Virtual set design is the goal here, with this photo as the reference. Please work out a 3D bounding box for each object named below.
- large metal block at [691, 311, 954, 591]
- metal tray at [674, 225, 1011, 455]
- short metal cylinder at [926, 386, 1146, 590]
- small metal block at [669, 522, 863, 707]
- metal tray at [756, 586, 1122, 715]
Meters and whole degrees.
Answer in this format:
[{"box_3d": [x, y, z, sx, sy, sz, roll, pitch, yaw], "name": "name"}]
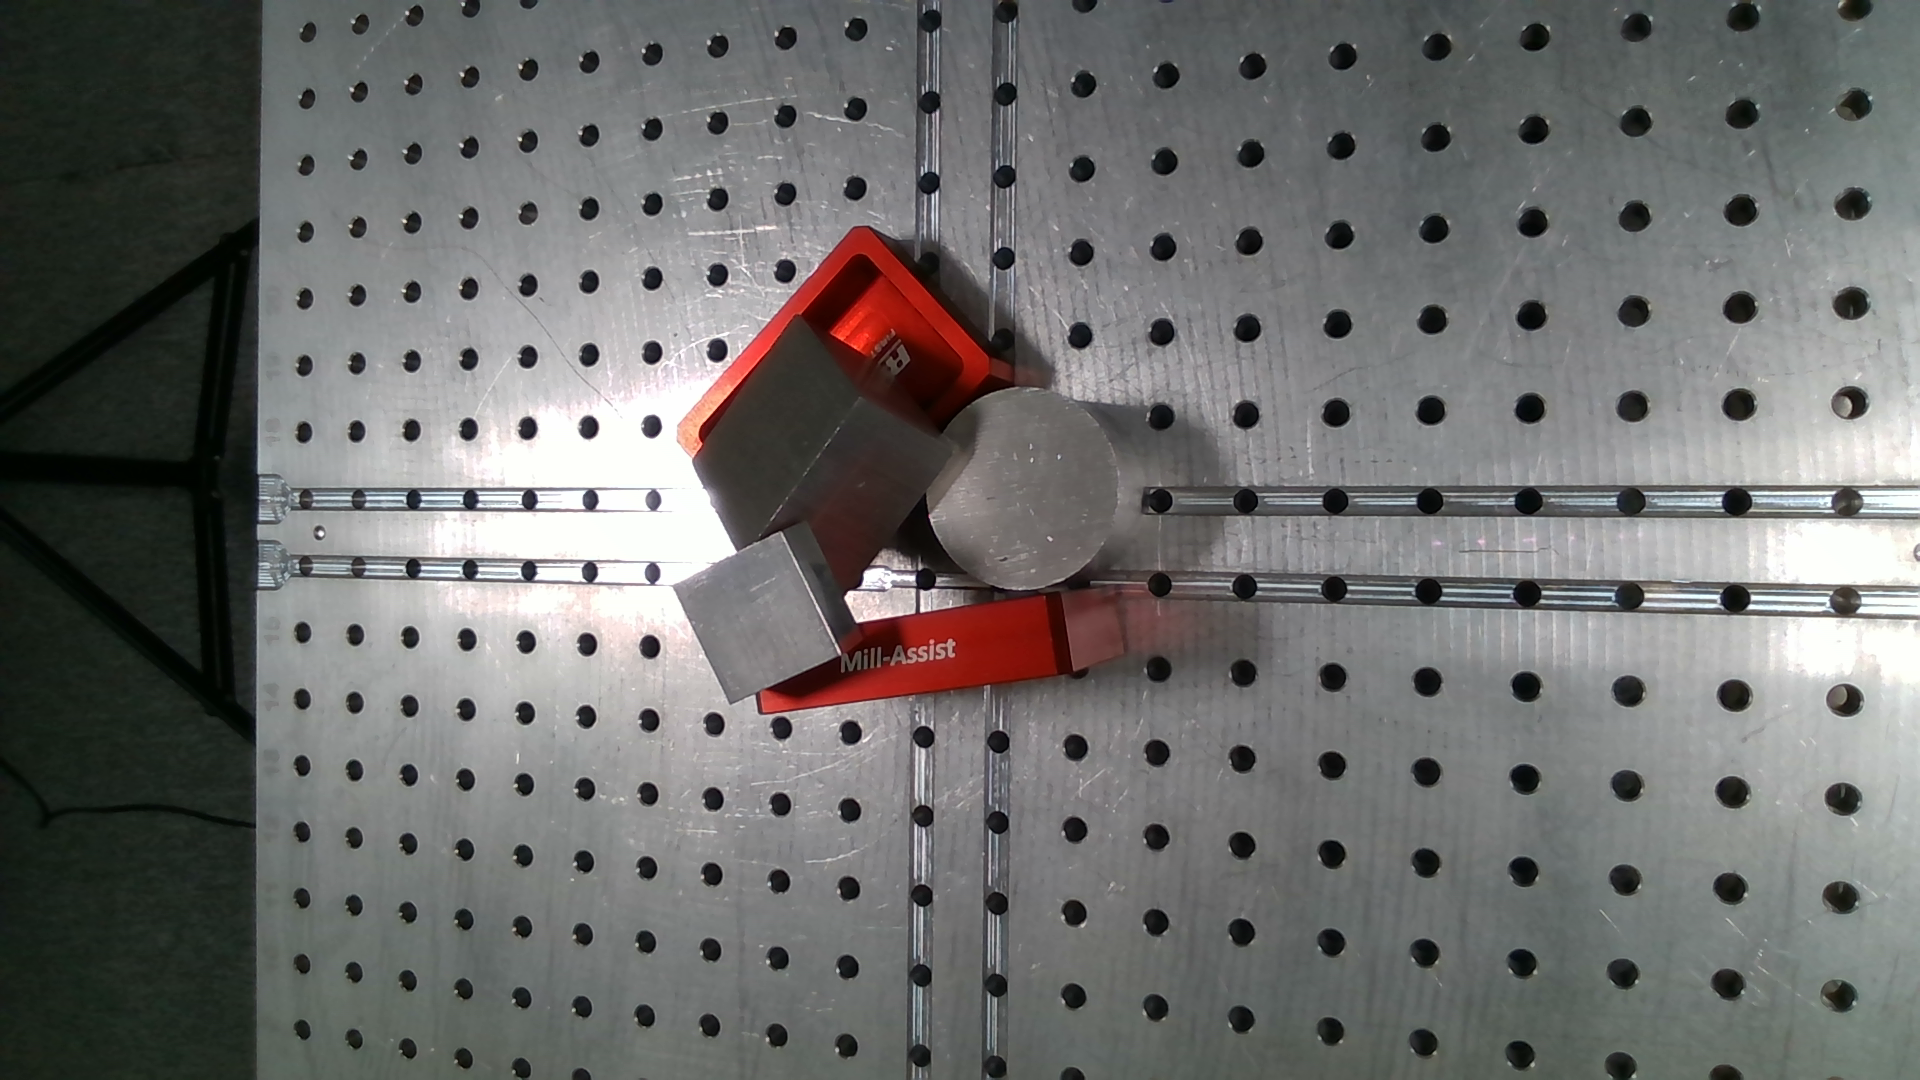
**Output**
[{"box_3d": [-0.059, -0.034, 0.563, 0.080, 0.050, 0.080, -52, 39, 13], "name": "large metal block"}, {"box_3d": [-0.053, -0.060, 0.603, 0.130, 0.030, 0.090, -45, 76, 15], "name": "metal tray"}, {"box_3d": [0.032, -0.020, 0.562, 0.080, 0.050, 0.080, 0, 90, 20], "name": "short metal cylinder"}, {"box_3d": [-0.072, 0.027, 0.515, 0.050, 0.025, 0.050, -25, 93, 19], "name": "small metal block"}, {"box_3d": [-0.008, 0.044, 0.557, 0.130, 0.090, 0.030, -10, 87, 20], "name": "metal tray"}]
